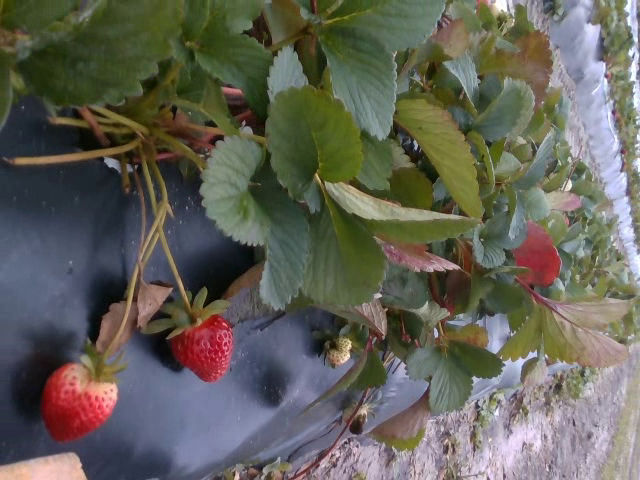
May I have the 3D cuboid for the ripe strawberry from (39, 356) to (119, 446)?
[{"bbox_3d":[-0.111,0.079,0.282,0.027,0.041,0.036,36,7,37],"label":"ripe strawberry"}]

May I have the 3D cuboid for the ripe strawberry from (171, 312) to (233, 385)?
[{"bbox_3d":[-0.065,0.063,0.346,0.044,0.059,0.042,-15,38,-18],"label":"ripe strawberry"}]
